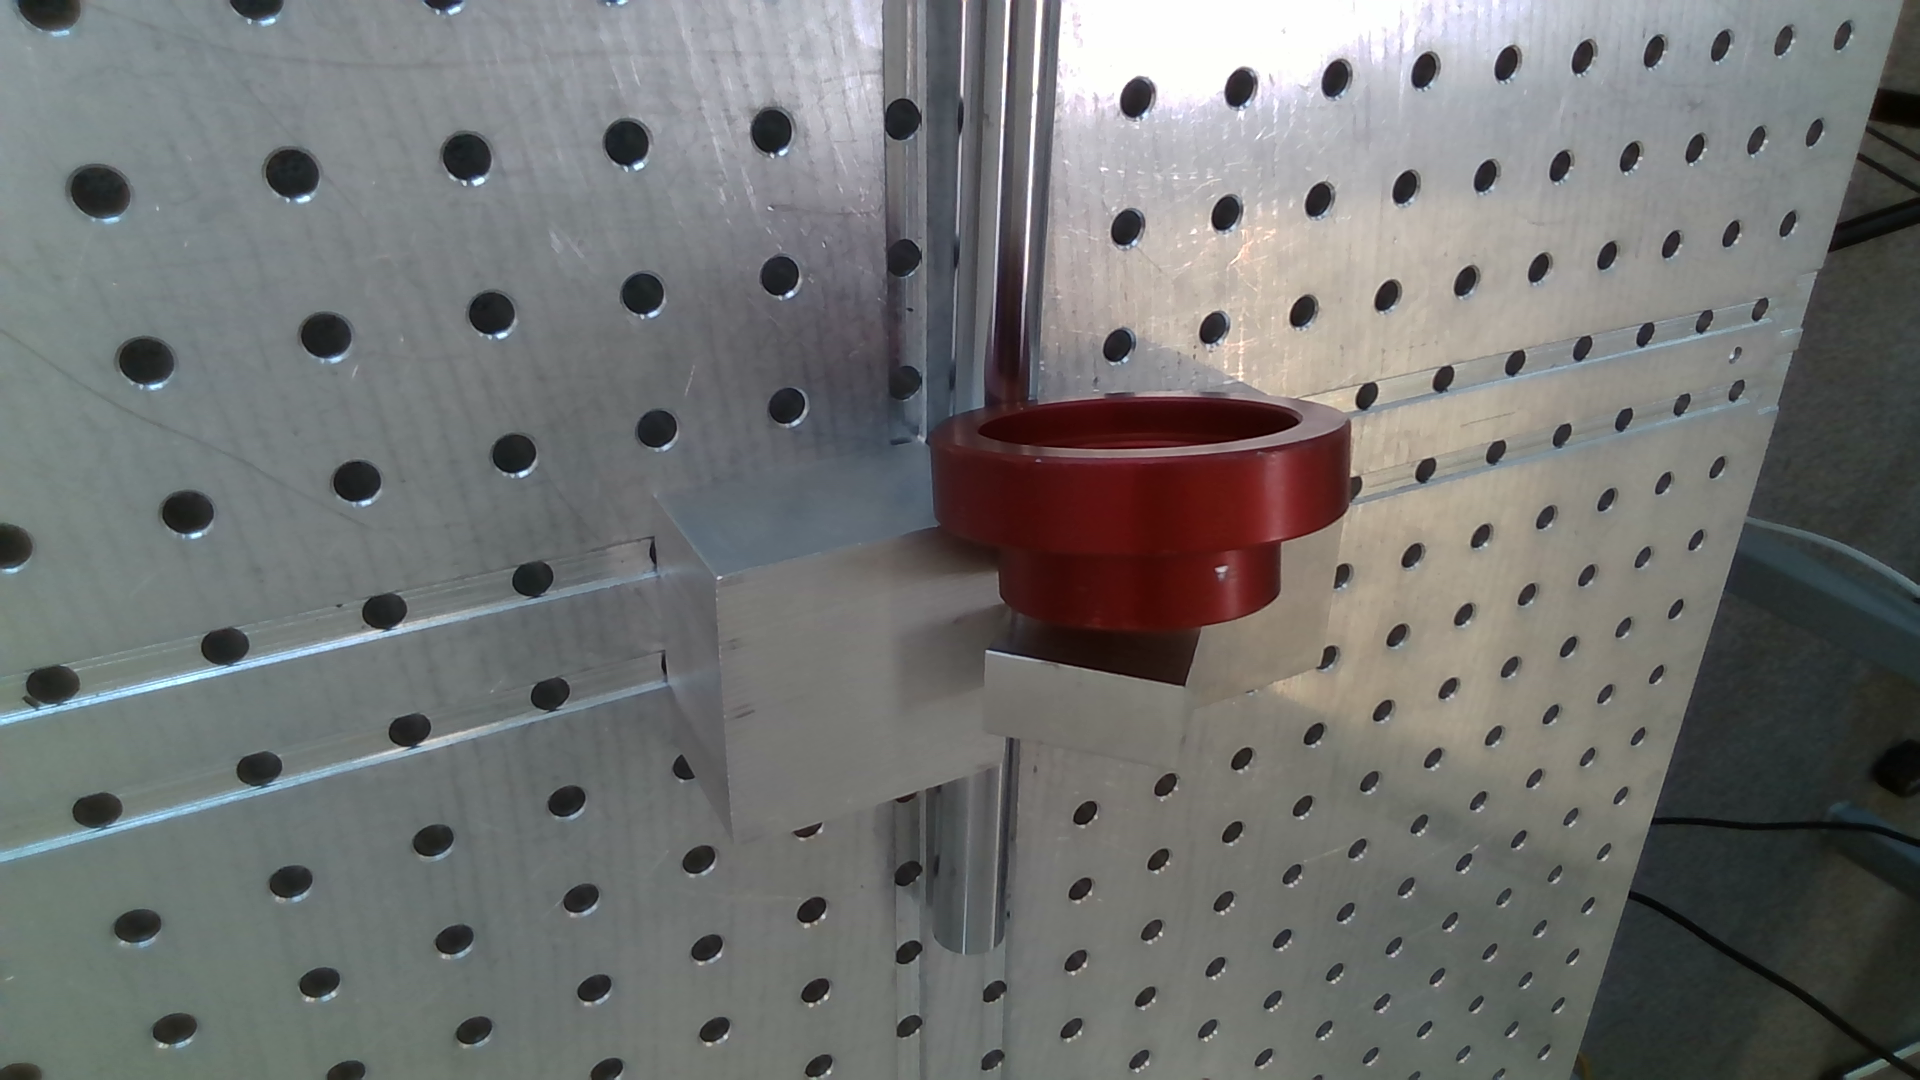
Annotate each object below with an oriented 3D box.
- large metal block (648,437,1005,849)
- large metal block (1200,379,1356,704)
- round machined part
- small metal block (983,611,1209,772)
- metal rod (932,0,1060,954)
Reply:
[{"bbox_3d":[-0.034,0.025,0.370,0.080,0.050,0.080,-13,121,-25],"label":"large metal block"},{"bbox_3d":[0.067,0.003,0.419,0.080,0.050,0.080,-14,121,-25],"label":"large metal block"},{"bbox_3d":[0.043,-0.008,0.330,0.098,0.098,0.042,-10,105,-27],"label":"round machined part"},{"bbox_3d":[0.037,0.031,0.360,0.050,0.050,0.025,-56,151,-58],"label":"small metal block"},{"bbox_3d":[0.007,-0.002,0.395,0.025,0.025,0.301,-13,121,-26],"label":"metal rod"}]
